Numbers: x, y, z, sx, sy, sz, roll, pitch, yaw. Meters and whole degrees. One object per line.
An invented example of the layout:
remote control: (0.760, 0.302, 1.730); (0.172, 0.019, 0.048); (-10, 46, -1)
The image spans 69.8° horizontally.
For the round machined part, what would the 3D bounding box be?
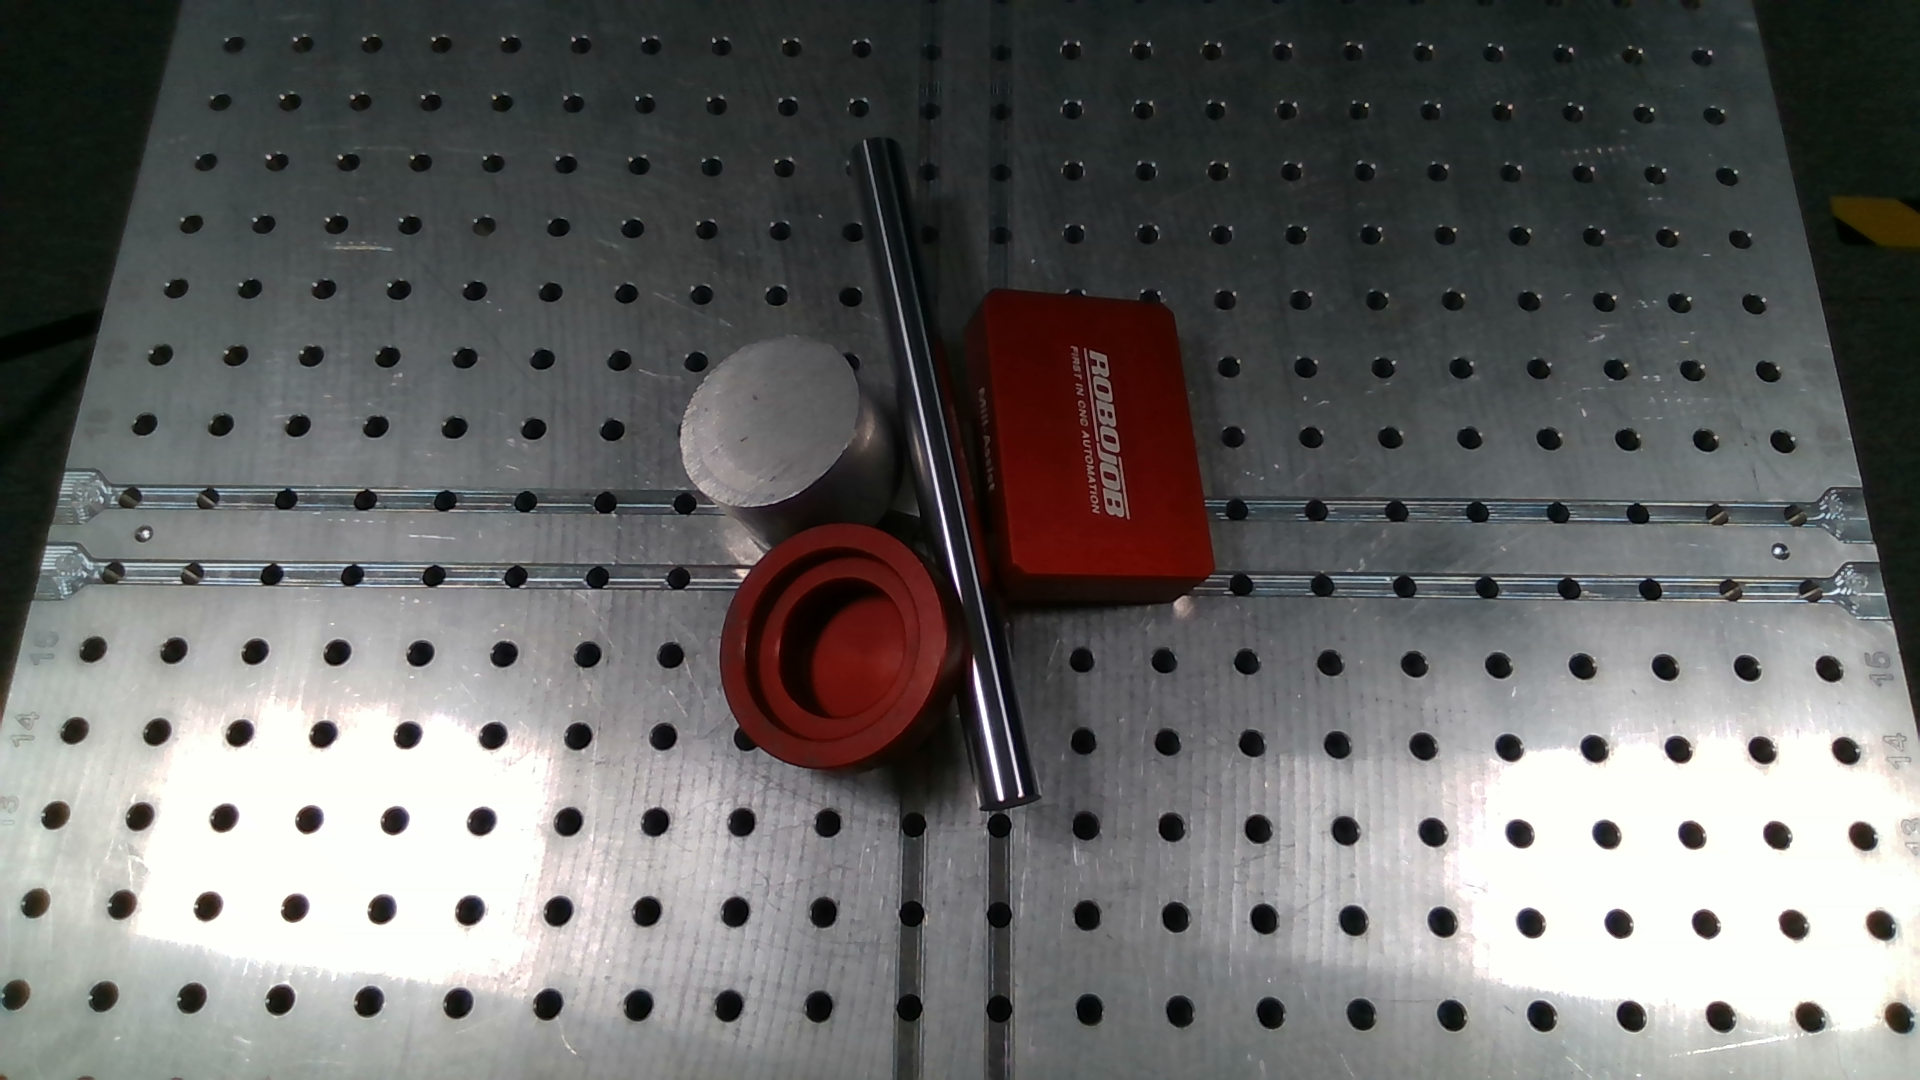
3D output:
round machined part: (-0.044, 0.045, 0.553); (0.098, 0.042, 0.098); (-6, 73, 21)

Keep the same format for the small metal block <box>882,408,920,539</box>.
small metal block: (-0.018, -0.028, 0.610); (0.050, 0.025, 0.050); (17, 71, 6)

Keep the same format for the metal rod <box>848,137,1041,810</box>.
metal rod: (-0.010, -0.037, 0.577); (0.025, 0.025, 0.299); (-10, 71, -4)

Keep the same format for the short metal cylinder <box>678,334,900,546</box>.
short metal cylinder: (-0.071, -0.039, 0.579); (0.080, 0.050, 0.080); (-8, 63, 16)

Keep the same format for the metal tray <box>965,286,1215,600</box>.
metal tray: (0.054, -0.041, 0.588); (0.090, 0.030, 0.130); (1, 70, -19)
